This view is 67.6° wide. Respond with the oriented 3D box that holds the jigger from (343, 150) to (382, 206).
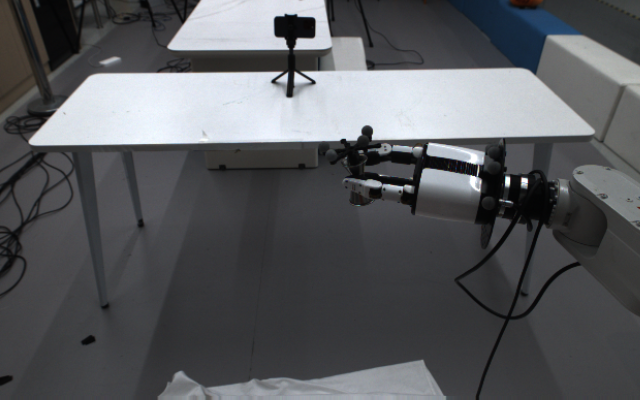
[{"bbox_3d":[0.059,-0.030,0.731,0.043,0.071,0.043,-12,29,7],"label":"jigger"}]
